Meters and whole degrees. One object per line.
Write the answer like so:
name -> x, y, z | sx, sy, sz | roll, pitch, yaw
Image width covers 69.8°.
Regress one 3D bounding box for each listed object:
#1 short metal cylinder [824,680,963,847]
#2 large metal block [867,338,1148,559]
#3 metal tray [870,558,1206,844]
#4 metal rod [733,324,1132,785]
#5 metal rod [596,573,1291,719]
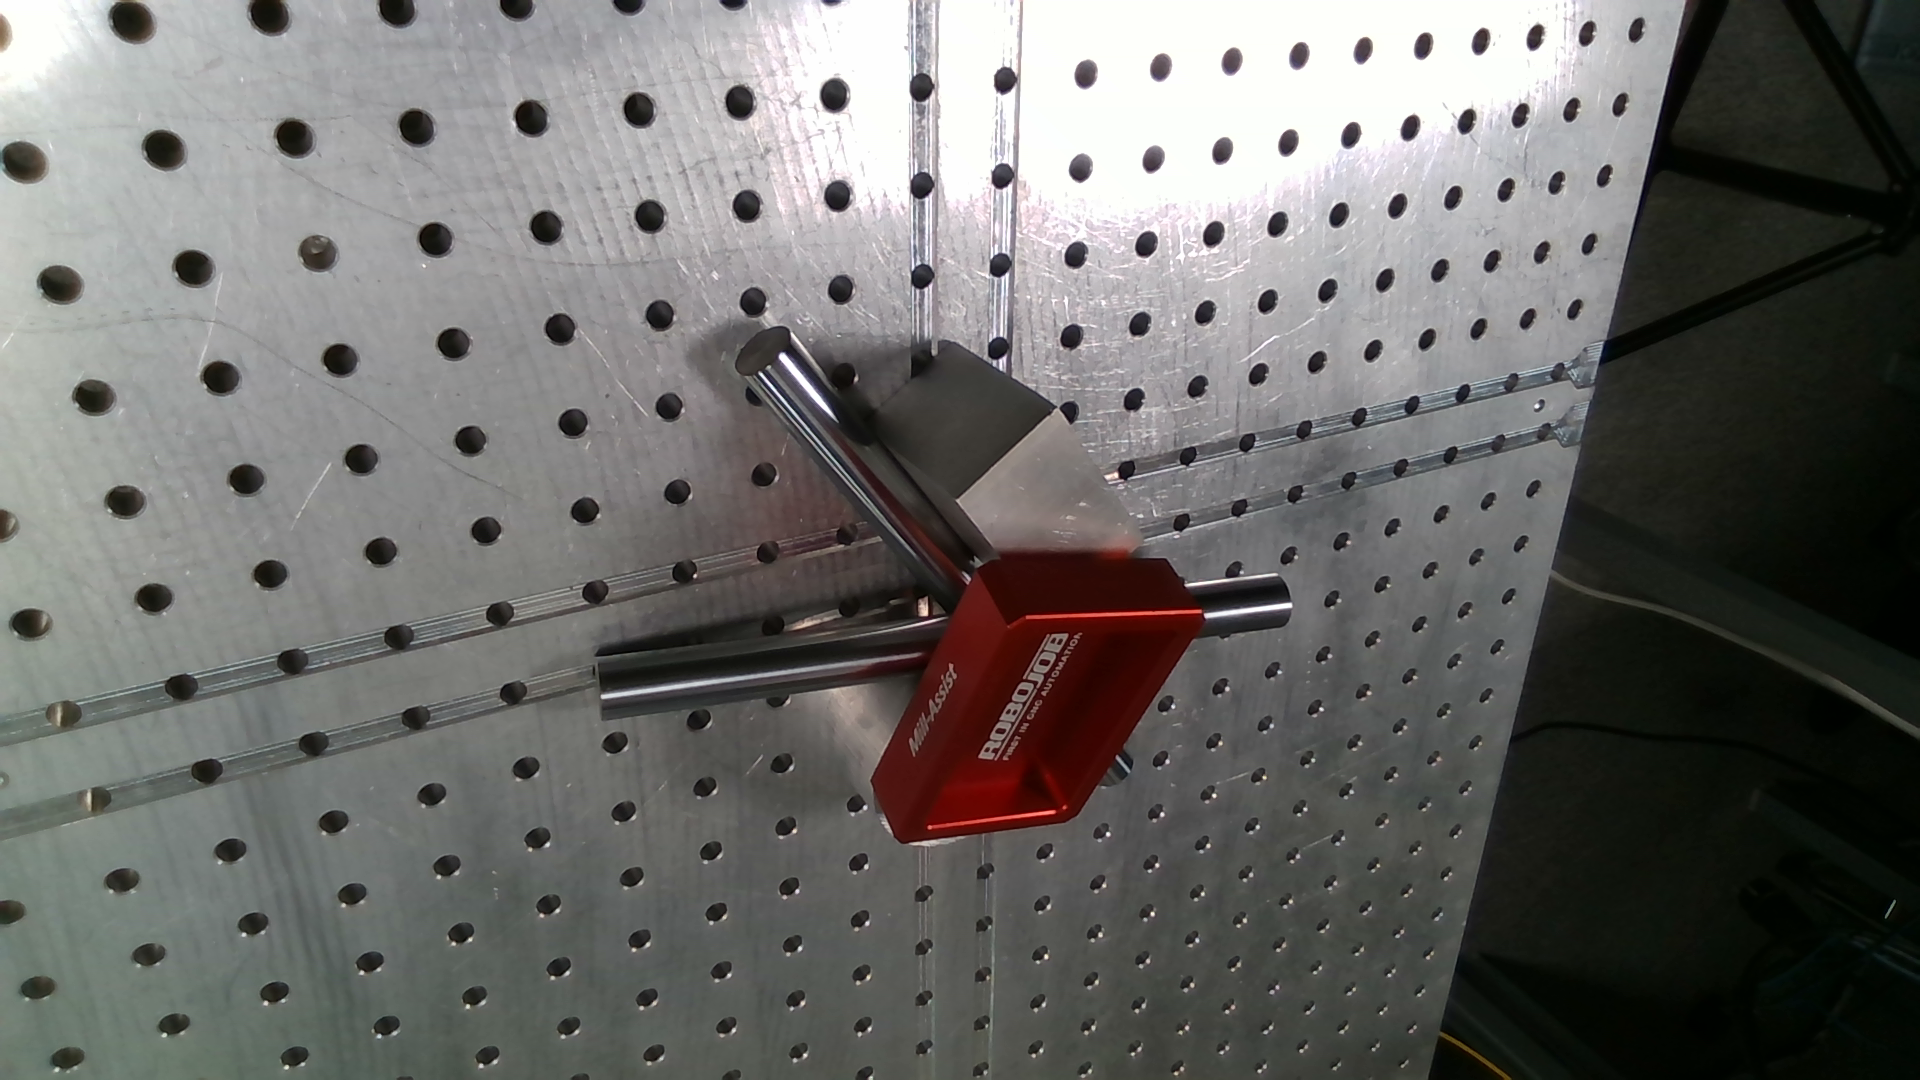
short metal cylinder -> -0.013, 0.087, 0.605 | 0.080, 0.050, 0.080 | -14, 122, -25
large metal block -> 0.017, -0.024, 0.545 | 0.050, 0.080, 0.080 | -43, 129, -5
metal tray -> 0.028, 0.064, 0.541 | 0.090, 0.030, 0.130 | 0, 133, -31
metal rod -> 0.001, 0.021, 0.596 | 0.025, 0.025, 0.301 | -43, 129, -5
metal rod -> 0.003, 0.042, 0.579 | 0.300, 0.025, 0.025 | -6, 118, -19
